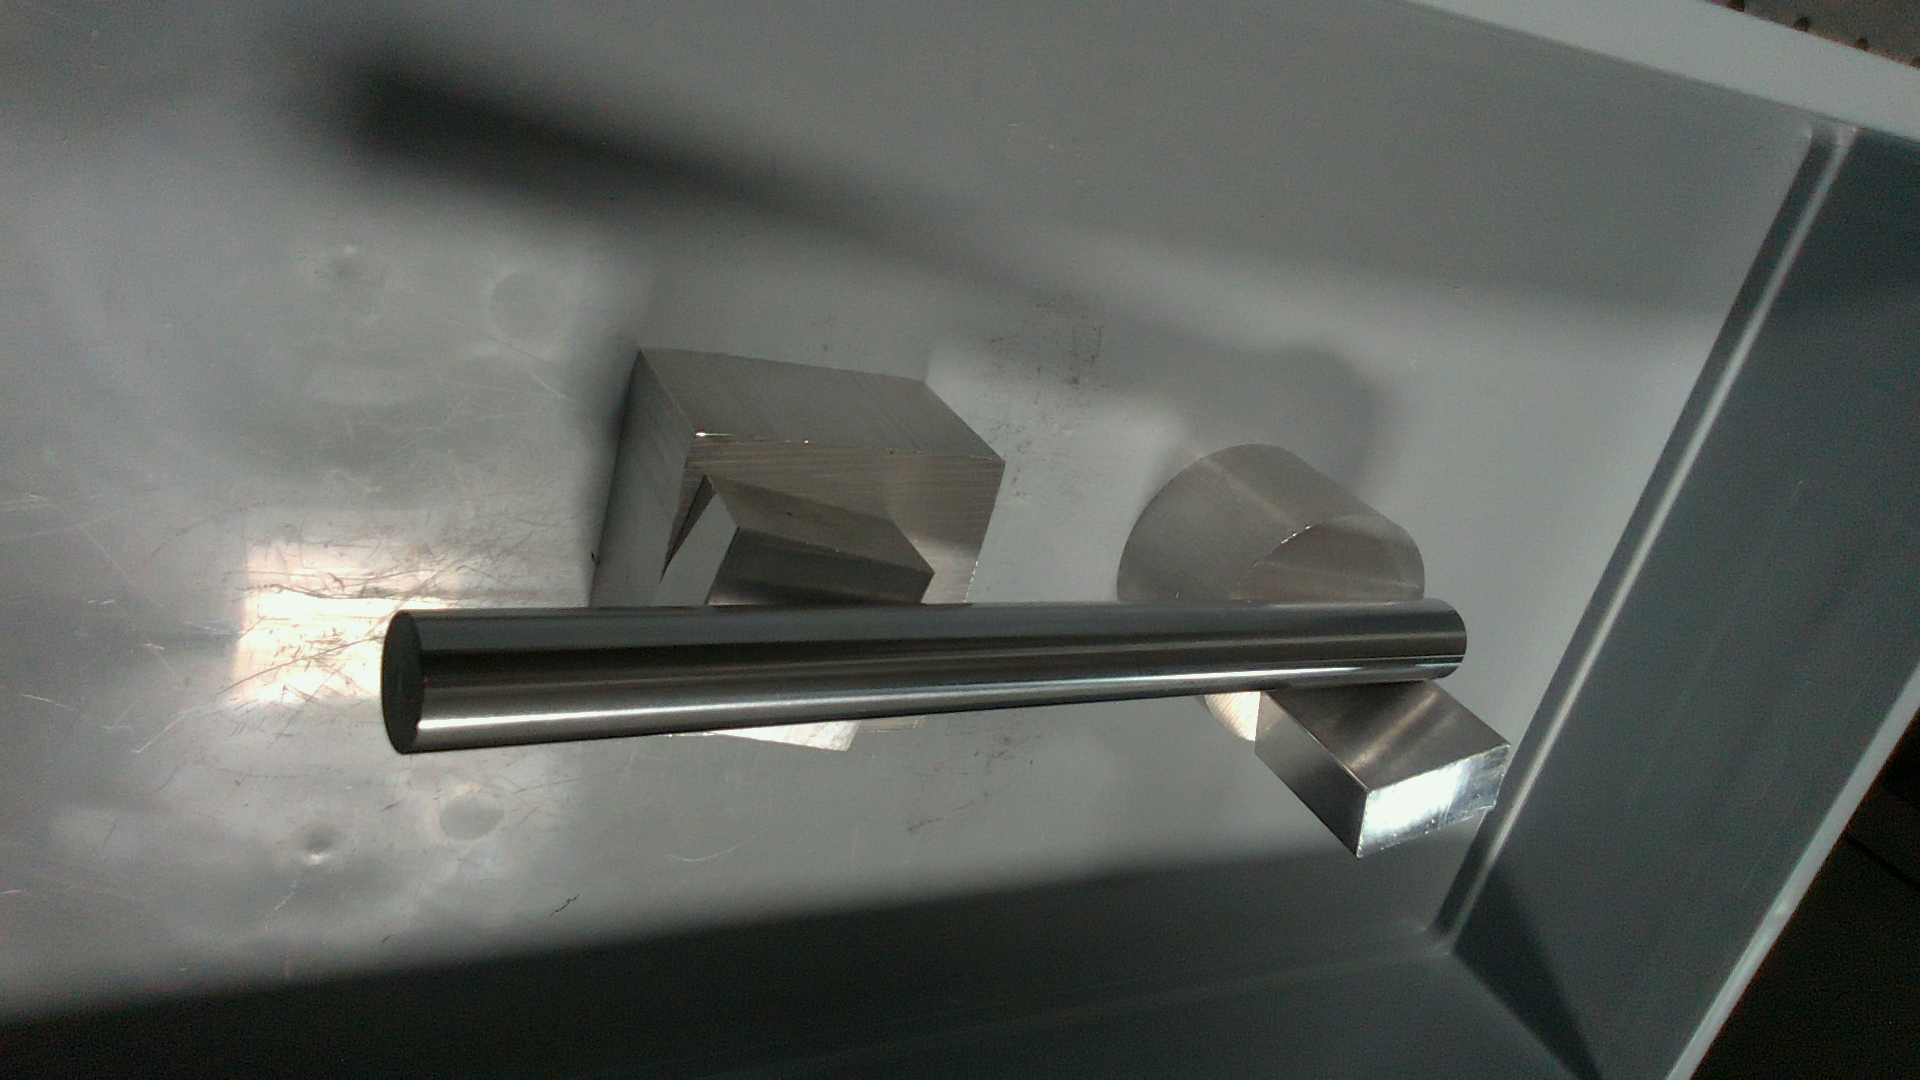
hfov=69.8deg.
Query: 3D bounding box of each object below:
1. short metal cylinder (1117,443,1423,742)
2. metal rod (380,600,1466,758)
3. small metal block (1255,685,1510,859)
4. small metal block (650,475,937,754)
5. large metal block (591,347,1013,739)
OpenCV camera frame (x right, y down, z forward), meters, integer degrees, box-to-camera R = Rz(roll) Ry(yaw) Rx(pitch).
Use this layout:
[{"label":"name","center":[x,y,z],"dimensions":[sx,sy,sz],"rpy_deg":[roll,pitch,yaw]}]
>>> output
[{"label":"short metal cylinder","center":[0.097,0.016,0.434],"dimensions":[0.080,0.050,0.080],"rpy_deg":[-14,124,-21]},{"label":"metal rod","center":[0.024,0.028,0.327],"dimensions":[0.301,0.025,0.025],"rpy_deg":[1,118,-38]},{"label":"small metal block","center":[0.125,0.062,0.412],"dimensions":[0.050,0.050,0.025],"rpy_deg":[-14,124,-21]},{"label":"small metal block","center":[-0.041,0.018,0.312],"dimensions":[0.050,0.025,0.050],"rpy_deg":[14,111,-34]},{"label":"large metal block","center":[-0.043,0.002,0.348],"dimensions":[0.080,0.050,0.080],"rpy_deg":[3,117,-30]}]
